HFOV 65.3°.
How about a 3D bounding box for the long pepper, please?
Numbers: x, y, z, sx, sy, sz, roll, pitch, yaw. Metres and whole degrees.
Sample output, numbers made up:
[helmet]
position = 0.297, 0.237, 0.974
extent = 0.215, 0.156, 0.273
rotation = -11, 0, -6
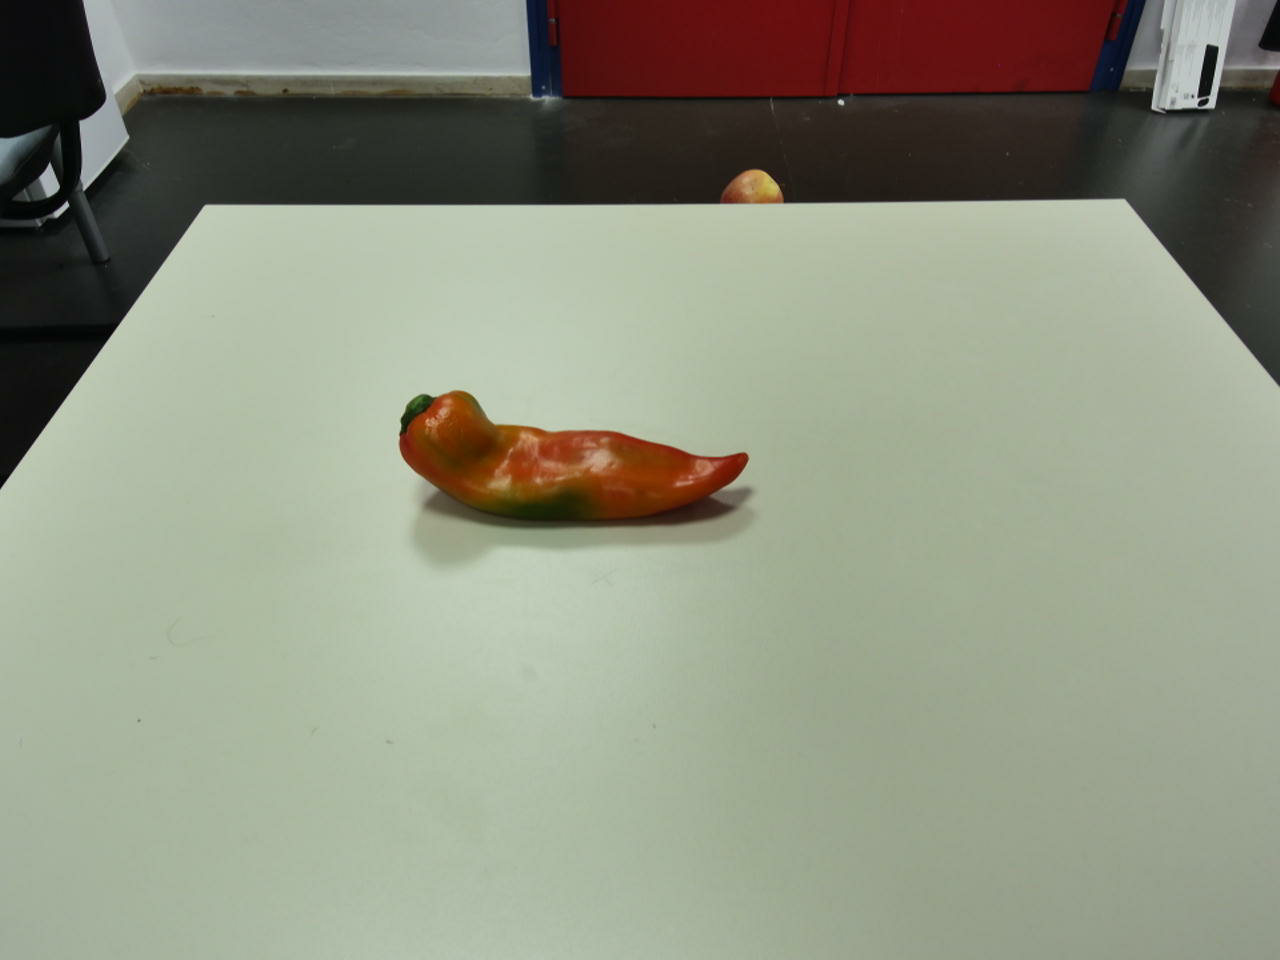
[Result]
[long pepper]
position = -0.038, -0.016, 0.571
extent = 0.199, 0.065, 0.066
rotation = 3, 39, 4
